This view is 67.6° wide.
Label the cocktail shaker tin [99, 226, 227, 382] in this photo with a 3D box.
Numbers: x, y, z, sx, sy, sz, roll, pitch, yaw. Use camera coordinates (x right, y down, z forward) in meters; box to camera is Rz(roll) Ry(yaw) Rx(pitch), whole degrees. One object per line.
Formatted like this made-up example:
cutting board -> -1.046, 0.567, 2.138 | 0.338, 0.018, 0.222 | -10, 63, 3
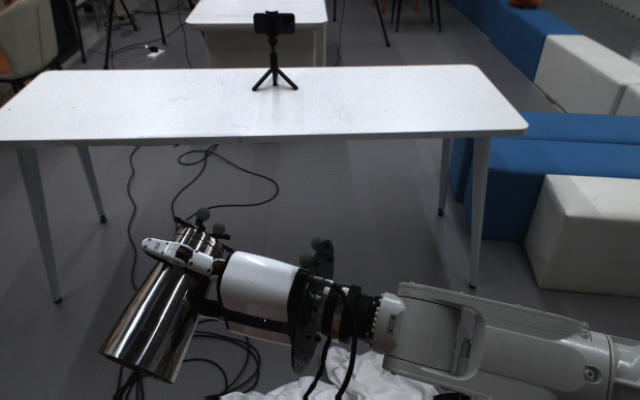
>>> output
cocktail shaker tin -> -0.181, 0.120, 0.590 | 0.093, 0.093, 0.170 | 13, 60, 15
